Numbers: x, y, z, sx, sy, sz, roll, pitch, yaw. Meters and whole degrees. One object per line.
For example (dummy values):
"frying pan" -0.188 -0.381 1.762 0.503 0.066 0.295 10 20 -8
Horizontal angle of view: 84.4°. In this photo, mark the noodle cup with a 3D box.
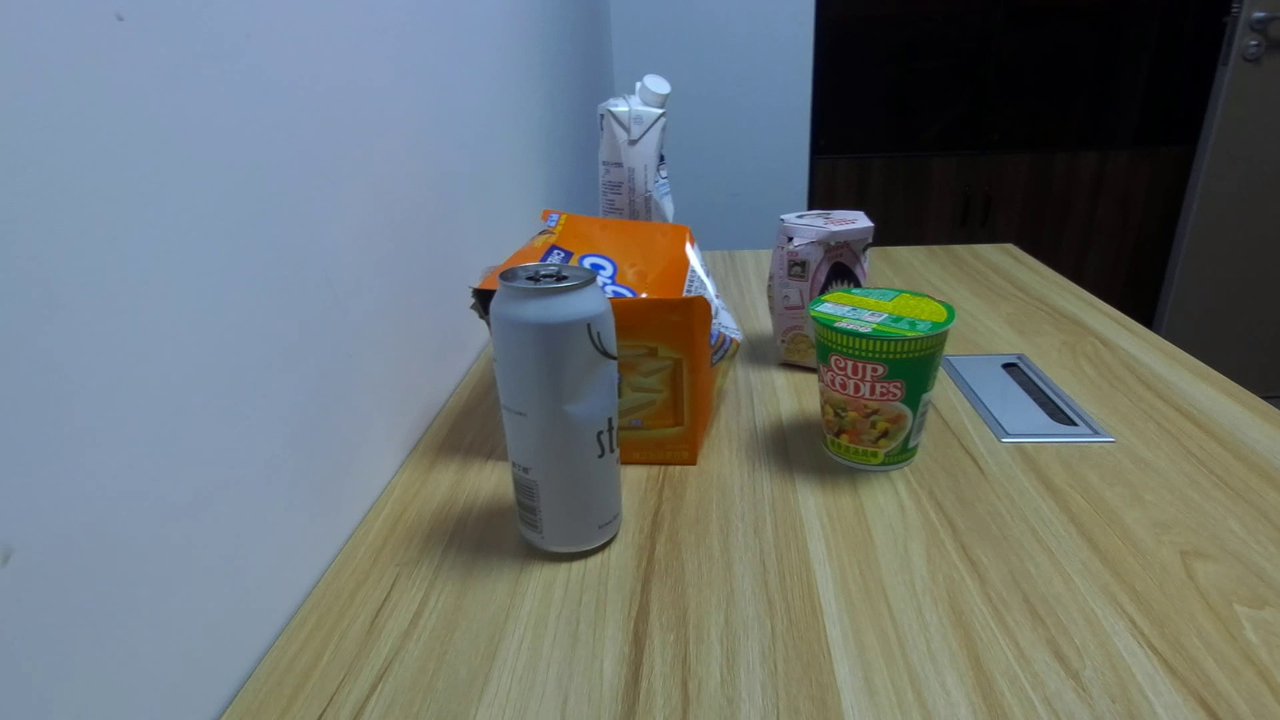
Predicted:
"noodle cup" 0.167 0.015 0.498 0.097 0.110 0.097 -4 23 2

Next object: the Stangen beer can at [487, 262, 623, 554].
"Stangen beer can" -0.045 0.028 0.417 0.069 0.173 0.070 0 23 5

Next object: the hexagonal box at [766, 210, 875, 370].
"hexagonal box" 0.166 -0.067 0.656 0.091 0.134 0.090 3 23 16

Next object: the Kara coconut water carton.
"Kara coconut water carton" -0.004 -0.157 0.729 0.078 0.255 0.083 1 23 7

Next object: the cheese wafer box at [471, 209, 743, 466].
"cheese wafer box" -0.011 -0.032 0.584 0.191 0.145 0.219 0 24 5
